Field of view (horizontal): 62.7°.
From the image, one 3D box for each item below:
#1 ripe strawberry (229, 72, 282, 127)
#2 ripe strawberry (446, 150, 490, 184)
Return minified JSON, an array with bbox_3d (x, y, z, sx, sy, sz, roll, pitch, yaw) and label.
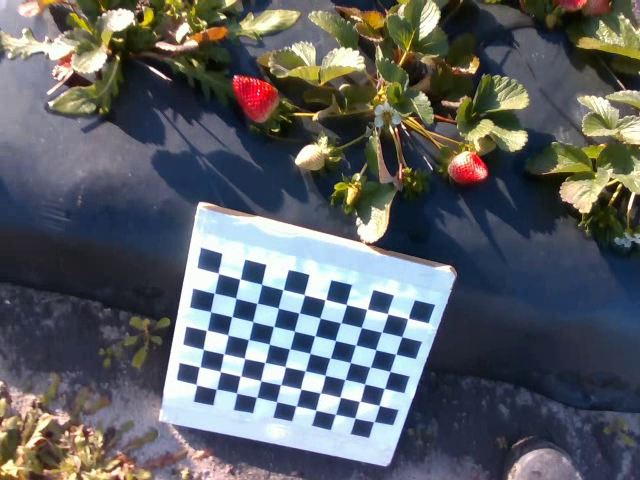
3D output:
[{"bbox_3d":[-0.058,-0.128,0.472,0.053,0.044,0.036,38,16,-21],"label":"ripe strawberry"},{"bbox_3d":[0.141,-0.067,0.485,0.042,0.037,0.045,-14,22,-26],"label":"ripe strawberry"}]
